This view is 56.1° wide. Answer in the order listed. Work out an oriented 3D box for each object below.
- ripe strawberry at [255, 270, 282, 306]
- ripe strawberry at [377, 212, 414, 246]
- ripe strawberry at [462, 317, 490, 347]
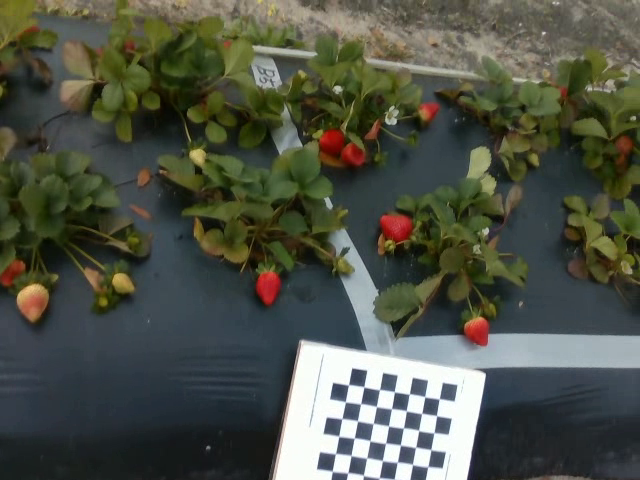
[{"bbox_3d":[-0.065,0.068,0.761,0.036,0.046,0.040,-5,-44,0],"label":"ripe strawberry"},{"bbox_3d":[0.109,-0.013,0.882,0.062,0.043,0.043,29,1,-2],"label":"ripe strawberry"},{"bbox_3d":[0.222,0.135,0.848,0.039,0.047,0.041,-25,-3,0],"label":"ripe strawberry"}]
